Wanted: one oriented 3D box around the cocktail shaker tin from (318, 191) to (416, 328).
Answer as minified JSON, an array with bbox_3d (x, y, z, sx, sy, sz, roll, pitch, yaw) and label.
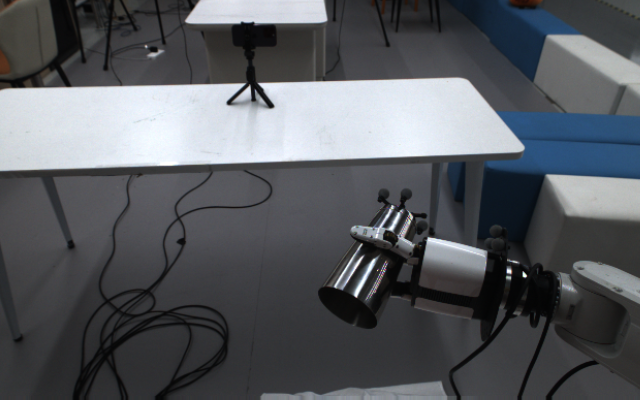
[{"bbox_3d":[0.081,0.083,0.697,0.093,0.093,0.170,19,55,22],"label":"cocktail shaker tin"}]
